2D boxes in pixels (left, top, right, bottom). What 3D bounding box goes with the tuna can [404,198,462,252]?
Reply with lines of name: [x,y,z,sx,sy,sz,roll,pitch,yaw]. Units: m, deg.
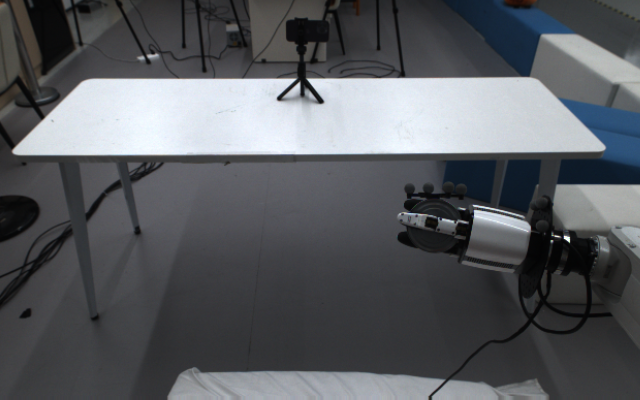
tuna can: [0.182,0.039,0.765,0.085,0.085,0.034,14,-3,16]
